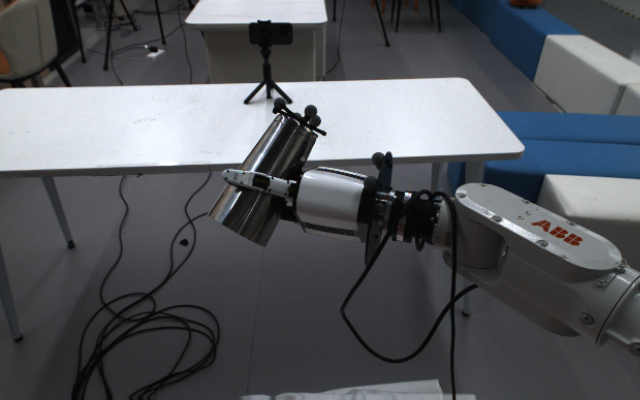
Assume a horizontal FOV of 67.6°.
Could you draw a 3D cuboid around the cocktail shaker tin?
[{"bbox_3d":[-0.076,-0.032,0.680,0.093,0.093,0.170,26,83,30],"label":"cocktail shaker tin"}]
